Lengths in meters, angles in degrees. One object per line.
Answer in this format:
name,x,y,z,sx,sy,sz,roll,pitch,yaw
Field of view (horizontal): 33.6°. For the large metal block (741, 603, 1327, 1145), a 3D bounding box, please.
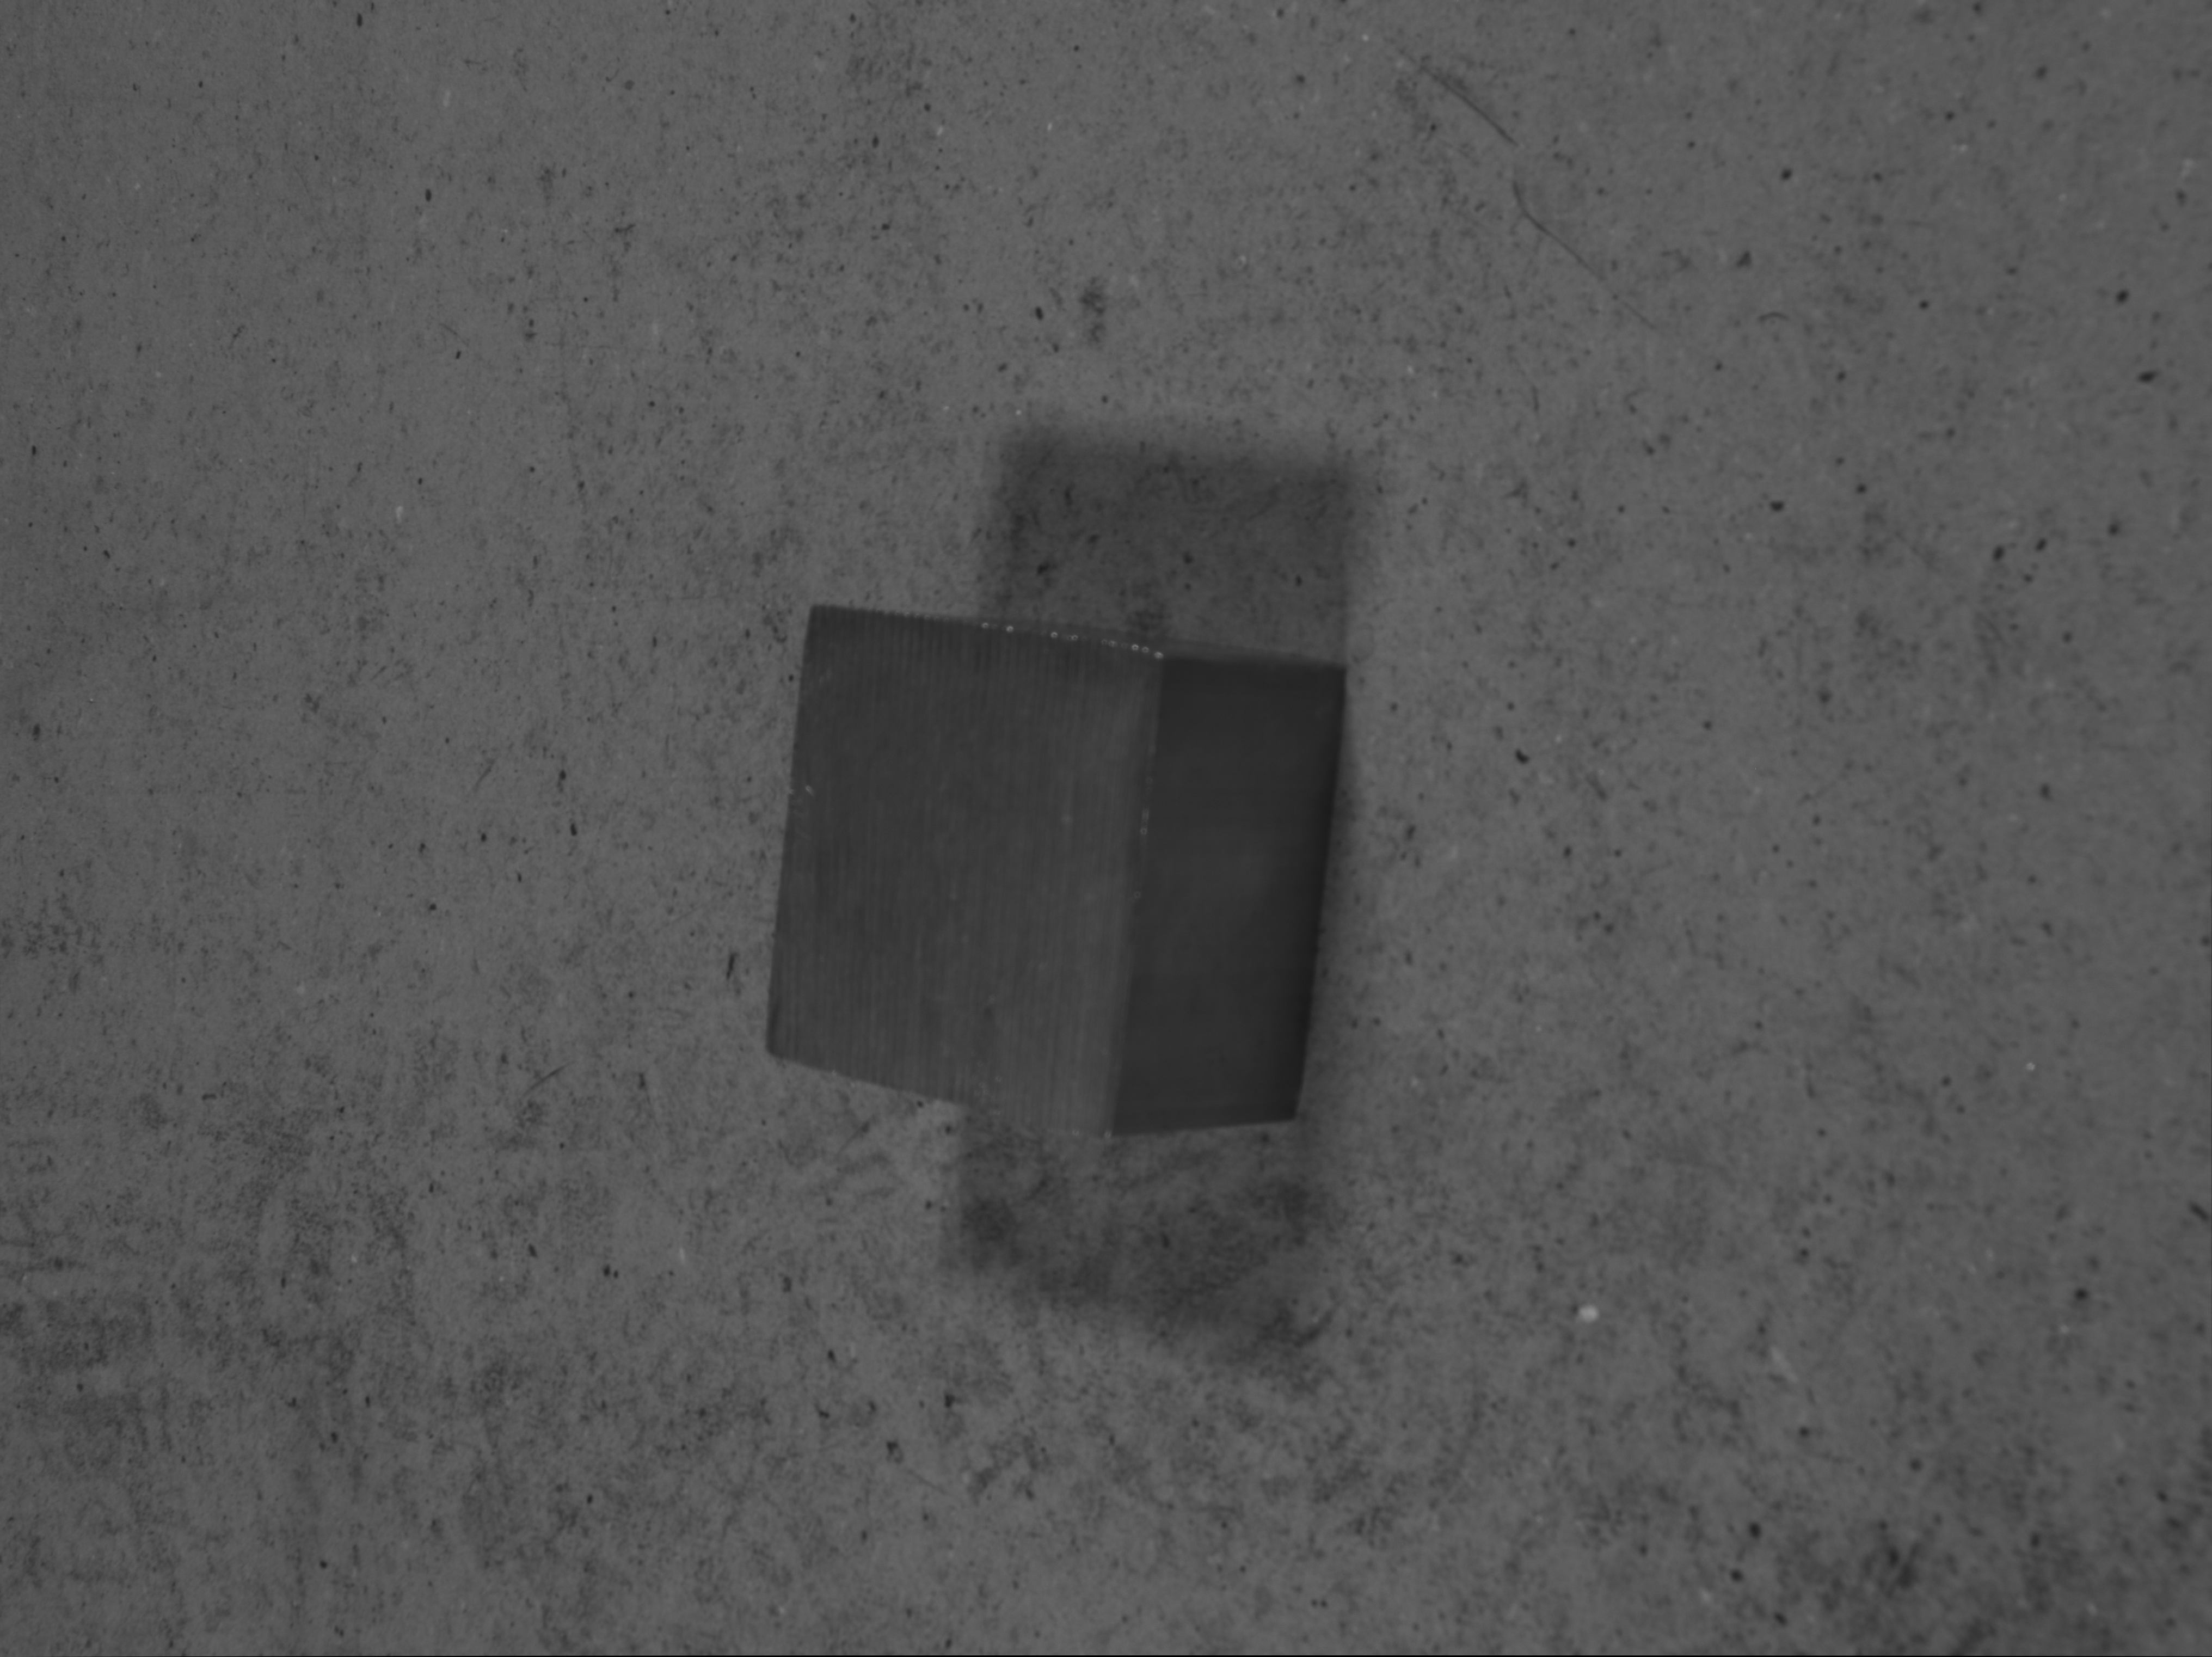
large metal block,-0.013,0.006,0.631,0.080,0.050,0.080,10,96,39
